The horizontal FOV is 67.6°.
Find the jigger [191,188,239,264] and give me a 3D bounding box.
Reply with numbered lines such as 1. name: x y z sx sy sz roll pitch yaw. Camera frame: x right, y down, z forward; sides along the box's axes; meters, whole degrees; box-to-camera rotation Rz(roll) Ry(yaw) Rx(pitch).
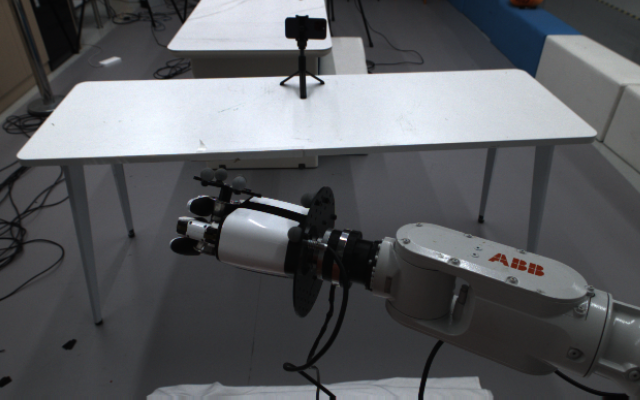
1. jigger: -0.128 0.032 0.610 0.043 0.071 0.043 17 2 -1
